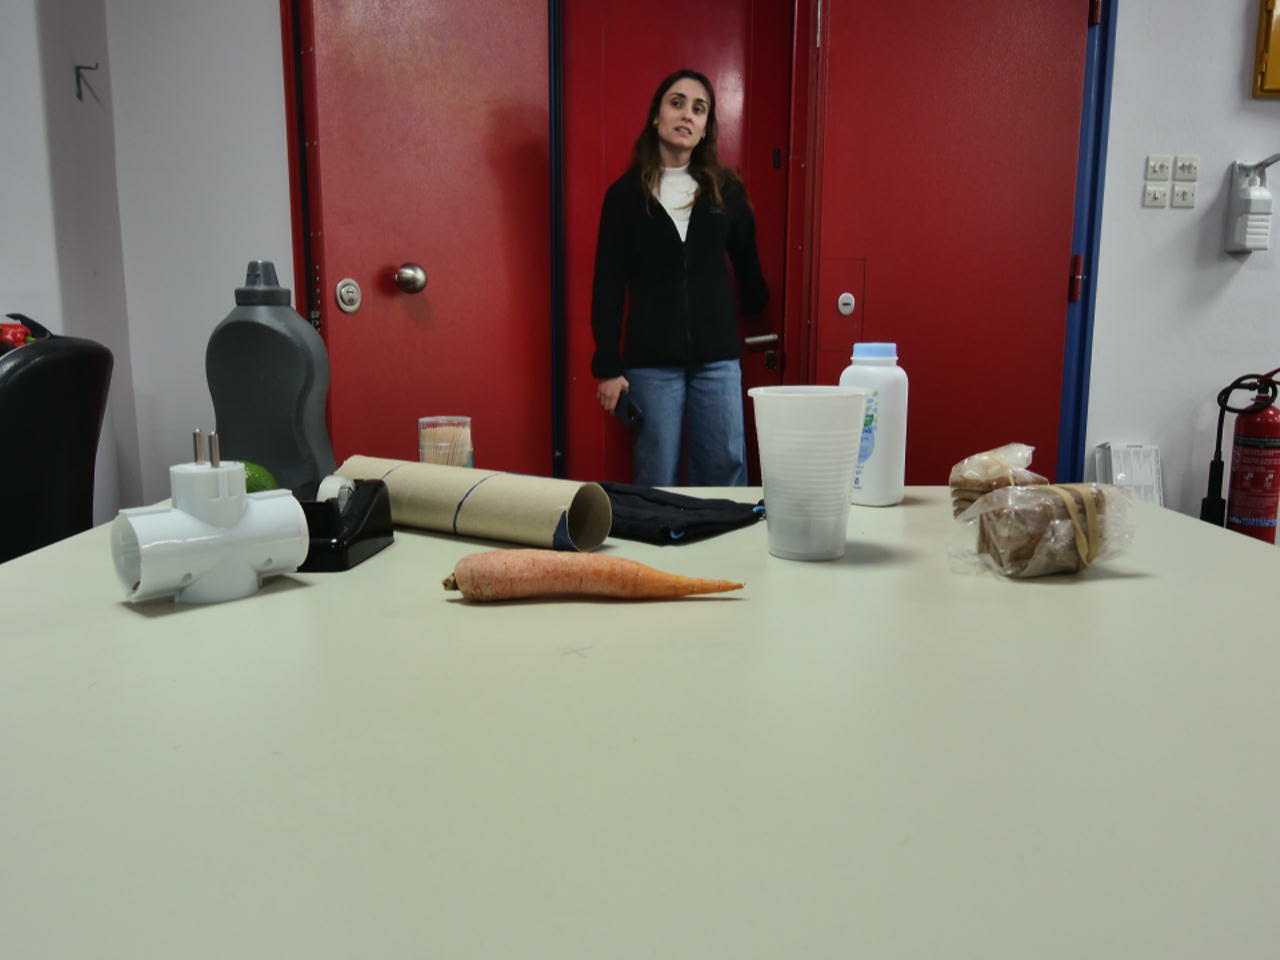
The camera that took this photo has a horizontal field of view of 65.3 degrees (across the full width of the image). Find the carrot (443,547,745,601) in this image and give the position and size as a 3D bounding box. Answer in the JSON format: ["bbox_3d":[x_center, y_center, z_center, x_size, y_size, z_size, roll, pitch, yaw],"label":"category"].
[{"bbox_3d":[-0.026,0.052,0.547,0.163,0.029,0.031,0,7,-1],"label":"carrot"}]
